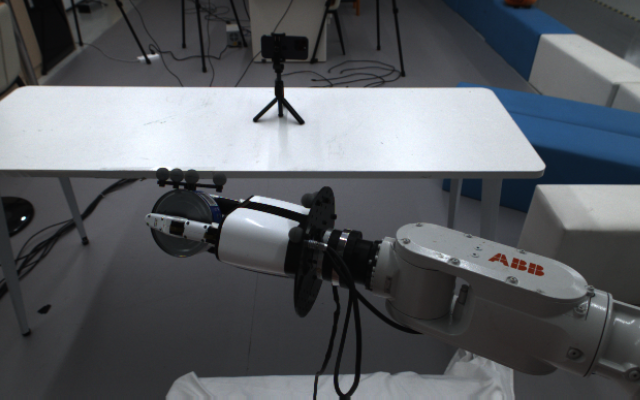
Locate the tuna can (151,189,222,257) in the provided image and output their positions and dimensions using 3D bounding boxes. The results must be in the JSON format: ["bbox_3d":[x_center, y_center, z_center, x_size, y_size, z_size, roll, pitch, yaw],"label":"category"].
[{"bbox_3d":[-0.167,0.029,0.614,0.085,0.085,0.034,12,3,13],"label":"tuna can"}]
